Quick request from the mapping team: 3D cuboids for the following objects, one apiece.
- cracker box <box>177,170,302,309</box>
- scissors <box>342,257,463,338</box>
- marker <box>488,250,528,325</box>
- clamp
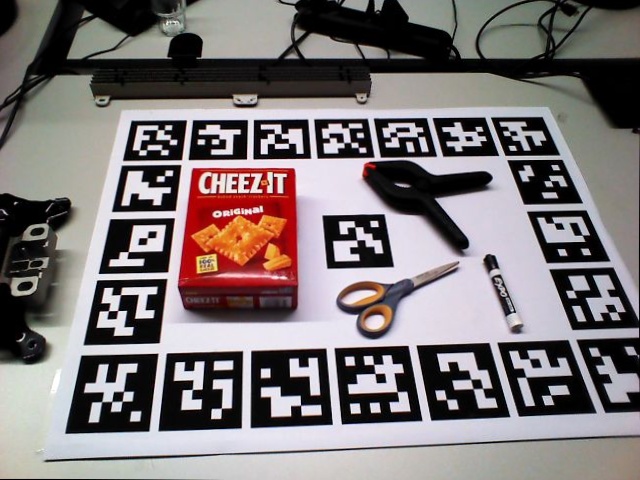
[{"bbox_3d":[-0.110,-0.007,0.756,0.164,0.072,0.212,-1,54,-2],"label":"cracker box"},{"bbox_3d":[0.126,0.066,0.741,0.202,0.016,0.087,-25,57,-21],"label":"scissors"},{"bbox_3d":[0.269,0.064,0.745,0.019,0.020,0.120,-5,54,-5],"label":"marker"},{"bbox_3d":[0.165,-0.084,0.857,0.203,0.037,0.164,23,55,14],"label":"clamp"}]
